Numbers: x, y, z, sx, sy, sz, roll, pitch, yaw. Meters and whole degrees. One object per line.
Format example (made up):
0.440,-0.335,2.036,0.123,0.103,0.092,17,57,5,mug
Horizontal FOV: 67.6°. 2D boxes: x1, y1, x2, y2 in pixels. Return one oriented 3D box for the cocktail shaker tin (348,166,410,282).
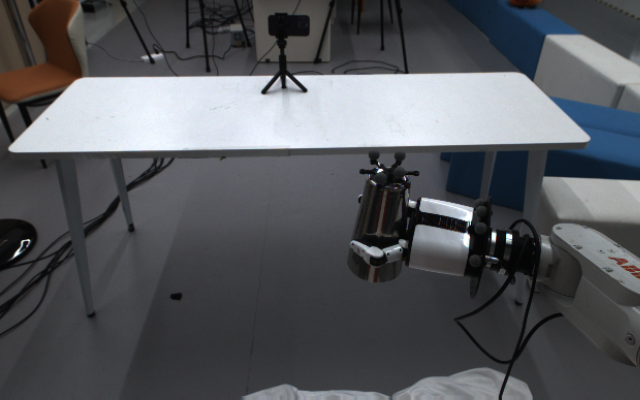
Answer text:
0.098,0.035,0.765,0.093,0.170,0.093,3,34,-2,cocktail shaker tin
